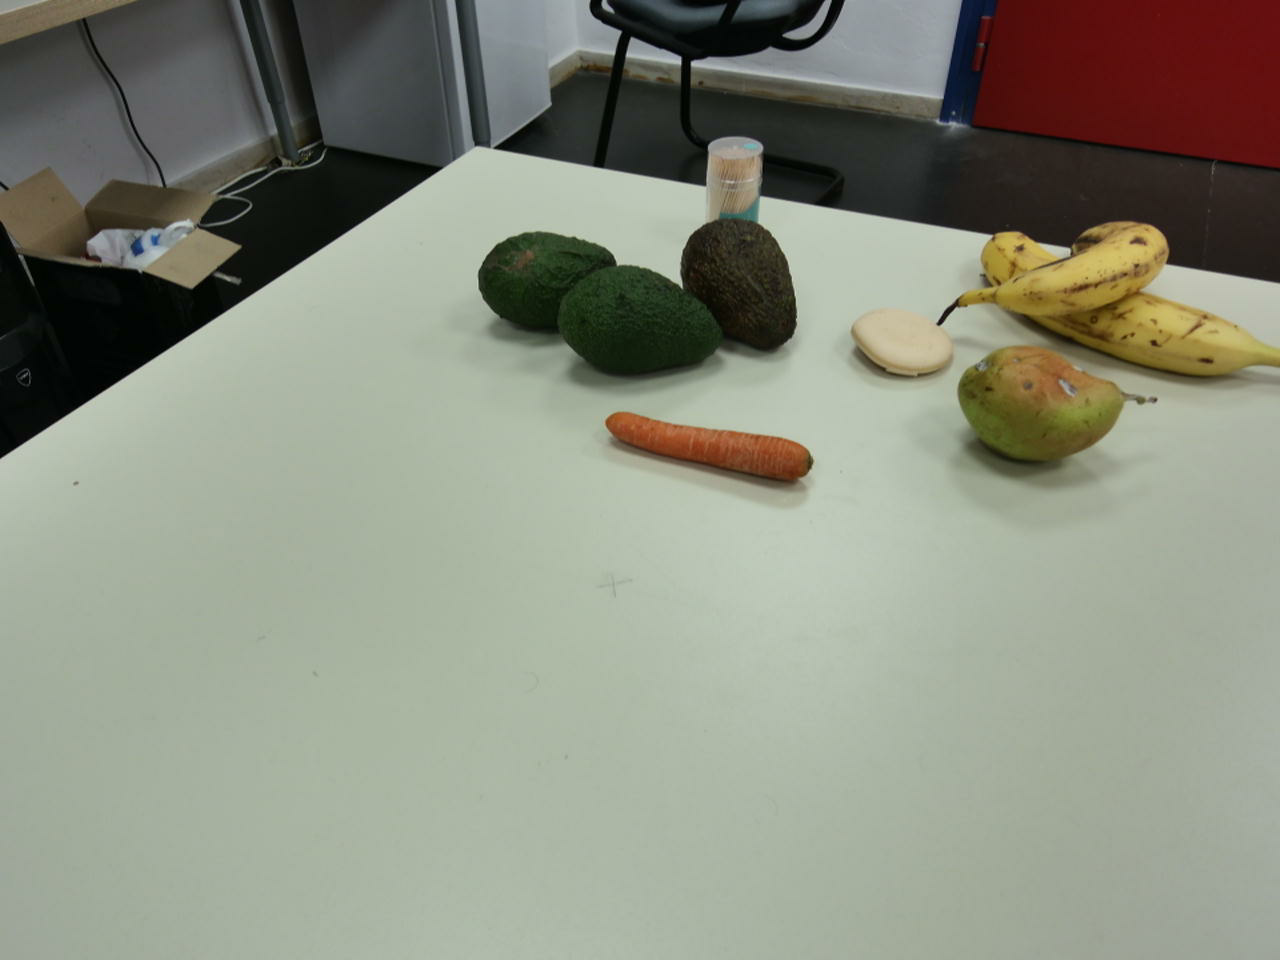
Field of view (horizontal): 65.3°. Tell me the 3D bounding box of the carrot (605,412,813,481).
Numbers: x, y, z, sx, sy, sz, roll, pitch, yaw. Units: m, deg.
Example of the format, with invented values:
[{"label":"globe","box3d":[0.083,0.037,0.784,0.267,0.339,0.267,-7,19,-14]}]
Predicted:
[{"label":"carrot","box3d":[0.037,-0.021,0.563,0.122,0.023,0.024,14,40,18]}]
